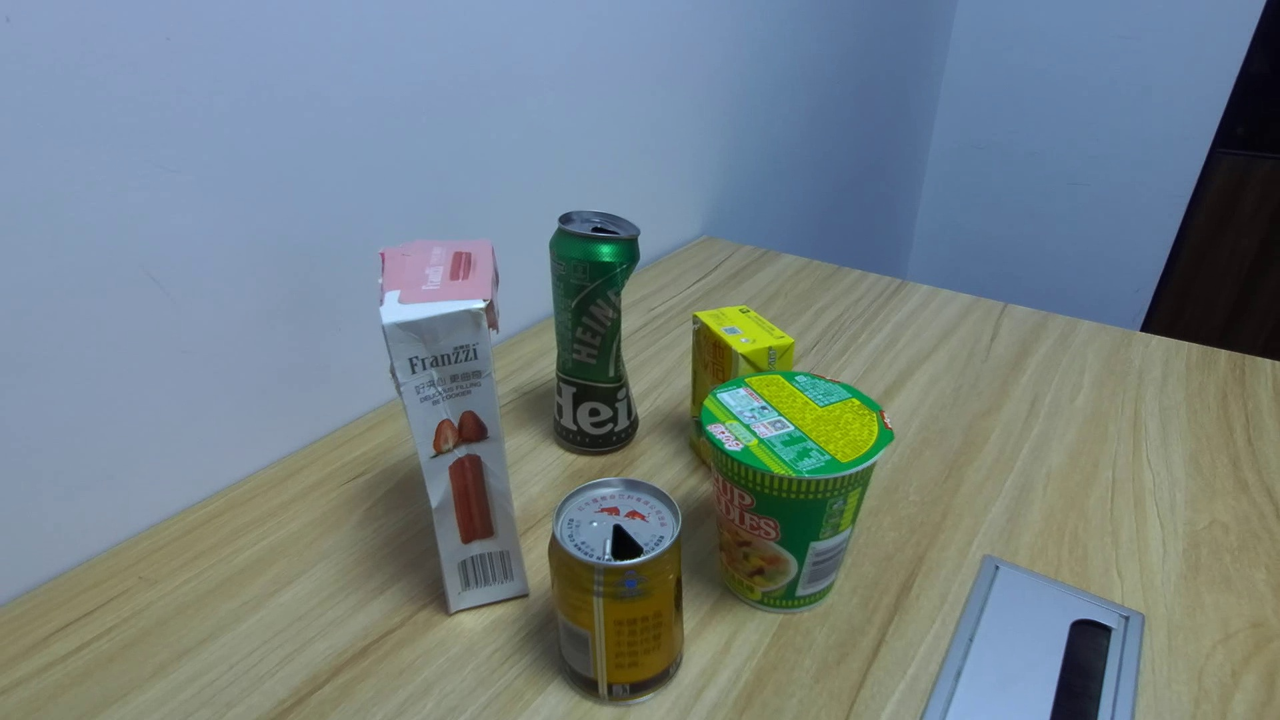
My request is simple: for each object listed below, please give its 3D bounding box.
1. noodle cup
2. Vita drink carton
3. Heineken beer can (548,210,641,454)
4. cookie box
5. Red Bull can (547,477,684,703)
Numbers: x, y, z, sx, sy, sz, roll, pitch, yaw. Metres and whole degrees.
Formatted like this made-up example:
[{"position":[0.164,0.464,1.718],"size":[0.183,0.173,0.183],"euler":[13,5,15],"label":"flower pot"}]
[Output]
[{"position":[0.081,0.077,0.390],"size":[0.097,0.110,0.097],"euler":[-1,29,1],"label":"noodle cup"},{"position":[0.066,0.023,0.486],"size":[0.043,0.109,0.076],"euler":[-12,31,-21],"label":"Vita drink carton"},{"position":[-0.029,-0.017,0.505],"size":[0.069,0.168,0.068],"euler":[21,32,30],"label":"Heineken beer can"},{"position":[-0.101,0.038,0.390],"size":[0.059,0.186,0.104],"euler":[-6,28,-14],"label":"cookie box"},{"position":[-0.010,0.112,0.349],"size":[0.068,0.093,0.068],"euler":[-1,30,1],"label":"Red Bull can"}]
